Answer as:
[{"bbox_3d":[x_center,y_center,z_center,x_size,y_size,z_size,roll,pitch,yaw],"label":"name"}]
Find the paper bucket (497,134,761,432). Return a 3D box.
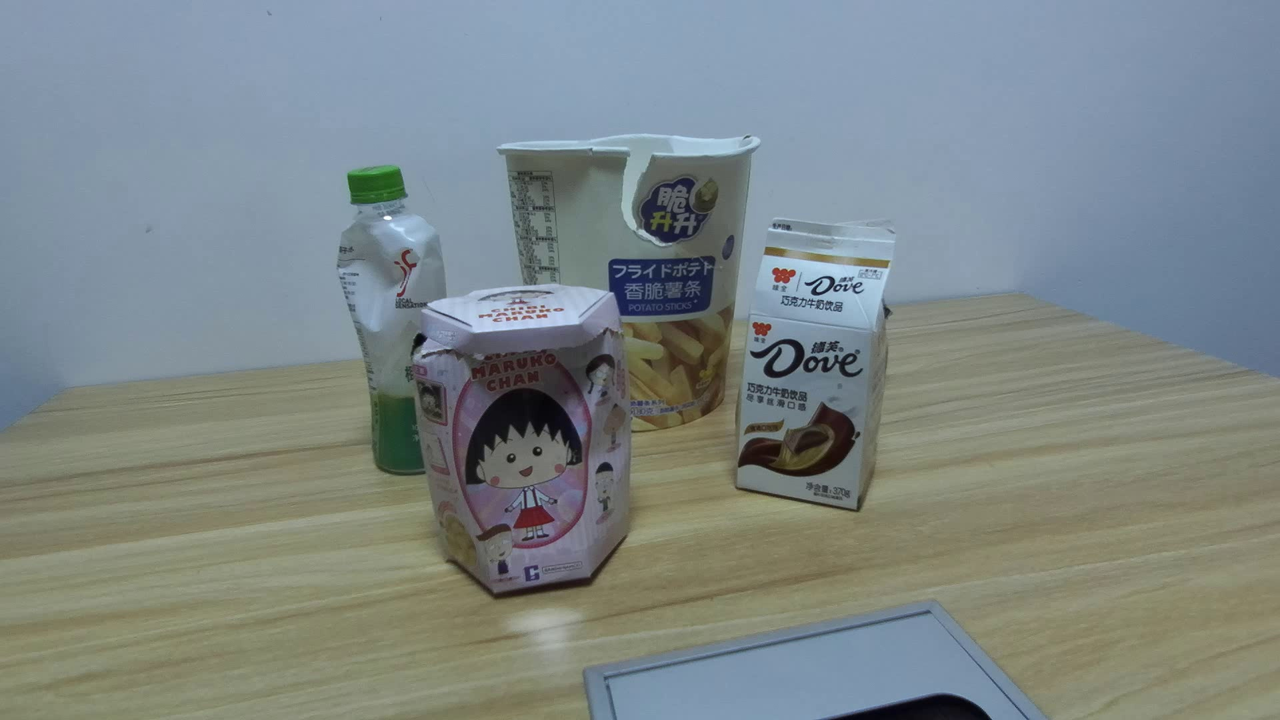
[{"bbox_3d":[-0.006,-0.064,0.525,0.201,0.197,0.146,13,26,38],"label":"paper bucket"}]

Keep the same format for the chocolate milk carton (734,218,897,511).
[{"bbox_3d":[0.100,-0.003,0.407,0.084,0.155,0.073,7,21,24],"label":"chocolate milk carton"}]

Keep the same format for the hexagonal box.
[{"bbox_3d":[-0.057,0.035,0.355,0.091,0.134,0.090,8,19,28],"label":"hexagonal box"}]

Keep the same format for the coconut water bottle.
[{"bbox_3d":[-0.150,-0.025,0.448,0.069,0.187,0.069,-1,19,1],"label":"coconut water bottle"}]
